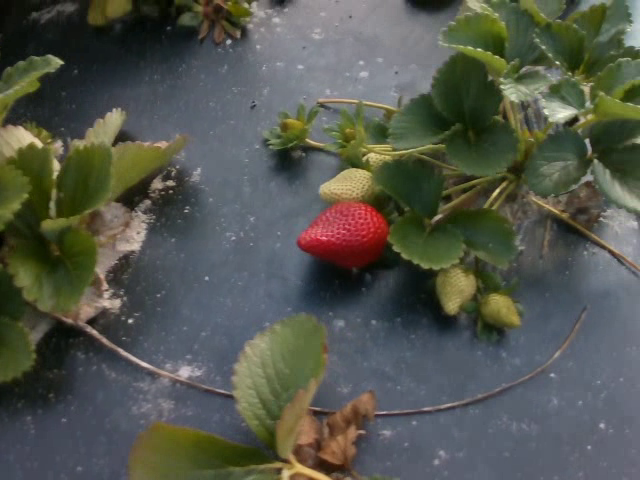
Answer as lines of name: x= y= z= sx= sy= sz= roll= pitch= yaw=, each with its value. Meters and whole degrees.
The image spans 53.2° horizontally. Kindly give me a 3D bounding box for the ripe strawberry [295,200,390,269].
ripe strawberry: x=0.005 y=-0.004 z=0.372 sx=0.055 sy=0.048 sz=0.051 roll=-5 pitch=10 yaw=-36
